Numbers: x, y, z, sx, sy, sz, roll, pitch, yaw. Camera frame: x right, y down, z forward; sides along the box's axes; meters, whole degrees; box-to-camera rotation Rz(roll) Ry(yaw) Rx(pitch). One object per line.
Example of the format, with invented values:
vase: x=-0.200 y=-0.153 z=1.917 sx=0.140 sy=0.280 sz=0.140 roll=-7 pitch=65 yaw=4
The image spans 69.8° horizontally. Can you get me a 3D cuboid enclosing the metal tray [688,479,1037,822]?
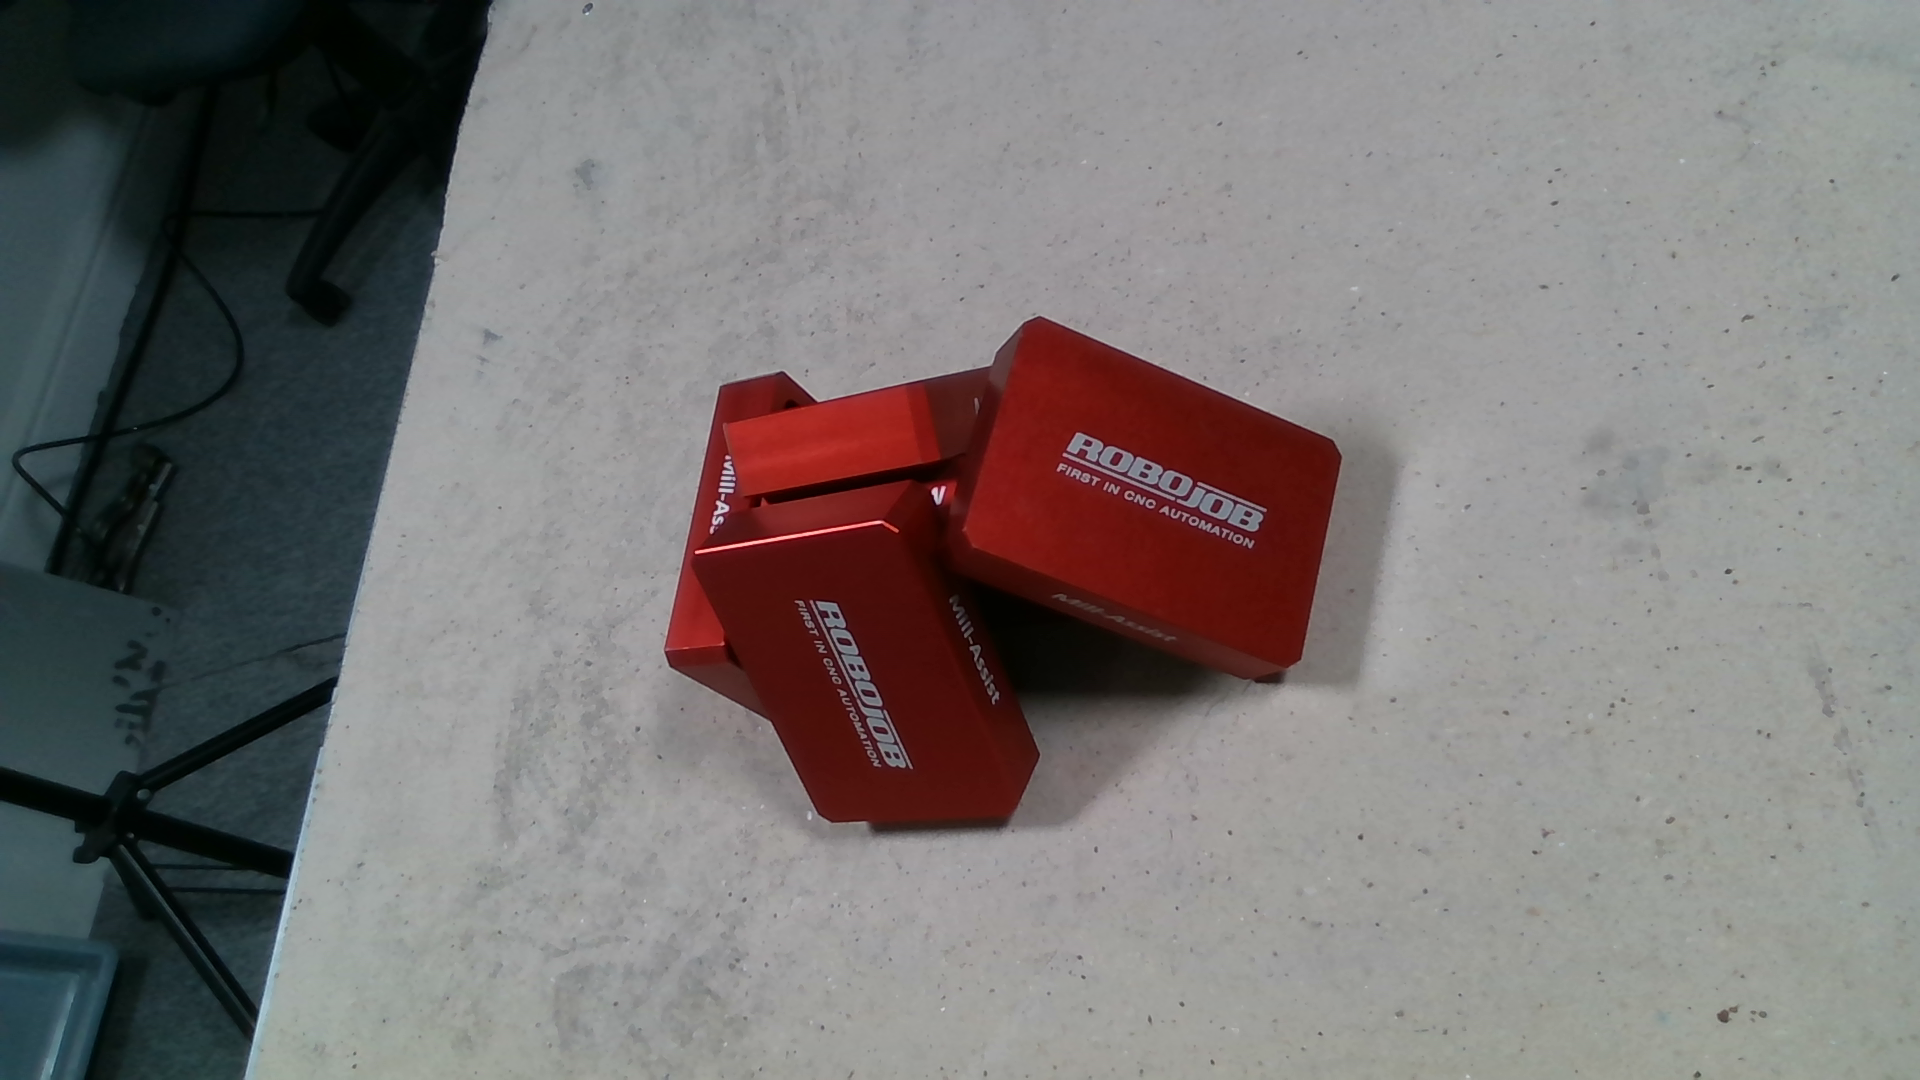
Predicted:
metal tray: x=-0.034 y=0.046 z=0.518 sx=0.090 sy=0.130 sz=0.030 roll=-9 pitch=28 yaw=28

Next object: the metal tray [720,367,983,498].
metal tray: x=-0.024 y=-0.048 z=0.563 sx=0.090 sy=0.130 sz=0.030 roll=-9 pitch=97 yaw=28

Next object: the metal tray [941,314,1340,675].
metal tray: x=0.066 y=-0.014 z=0.493 sx=0.030 sy=0.130 sz=0.090 roll=144 pitch=144 yaw=-67

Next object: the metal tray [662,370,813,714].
metal tray: x=-0.075 y=0.006 z=0.587 sx=0.030 sy=0.090 sz=0.130 roll=-7 pitch=62 yaw=28

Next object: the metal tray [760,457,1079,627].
metal tray: x=-0.005 y=0.005 z=0.544 sx=0.130 sy=0.090 sz=0.030 roll=-8 pitch=62 yaw=28
